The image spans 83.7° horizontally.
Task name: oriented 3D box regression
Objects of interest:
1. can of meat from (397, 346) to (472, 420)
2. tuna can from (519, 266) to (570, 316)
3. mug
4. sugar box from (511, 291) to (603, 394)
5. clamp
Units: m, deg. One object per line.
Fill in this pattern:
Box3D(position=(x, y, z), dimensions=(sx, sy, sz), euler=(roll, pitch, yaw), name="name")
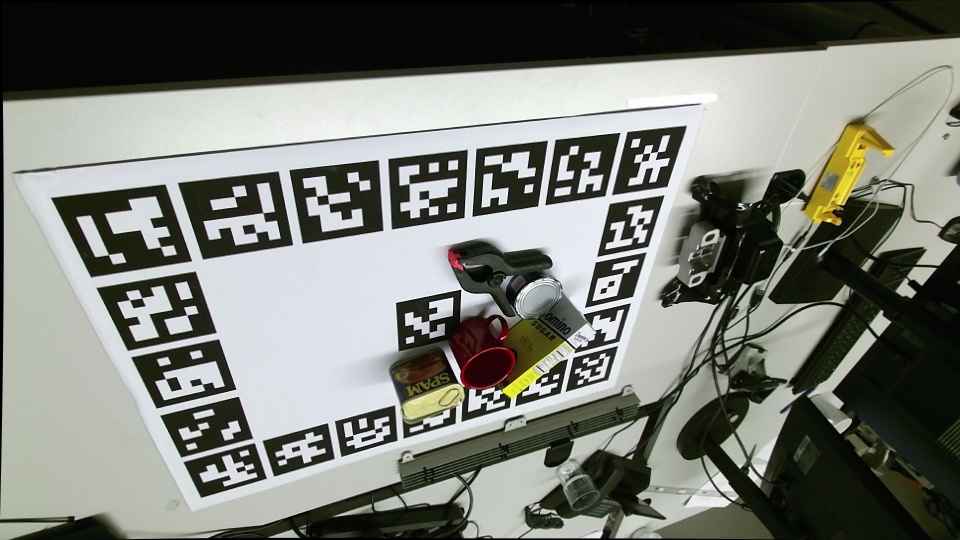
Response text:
Box3D(position=(-0.075, 0.176, 0.846), dimensions=(0.102, 0.083, 0.058), euler=(-18, 130, -12), name="can of meat")
Box3D(position=(0.106, 0.030, 0.852), dimensions=(0.086, 0.033, 0.086), euler=(-13, 126, -18), name="tuna can")
Box3D(position=(0.024, 0.120, 0.843), dimensions=(0.094, 0.081, 0.117), euler=(13, 115, -32), name="mug")
Box3D(position=(0.108, 0.114, 0.884), dimensions=(0.176, 0.092, 0.045), euler=(-40, 133, 7), name="sugar box")
Box3D(position=(0.033, -0.004, 0.799), dimensions=(0.166, 0.036, 0.122), euler=(25, 114, -32), name="clamp")
